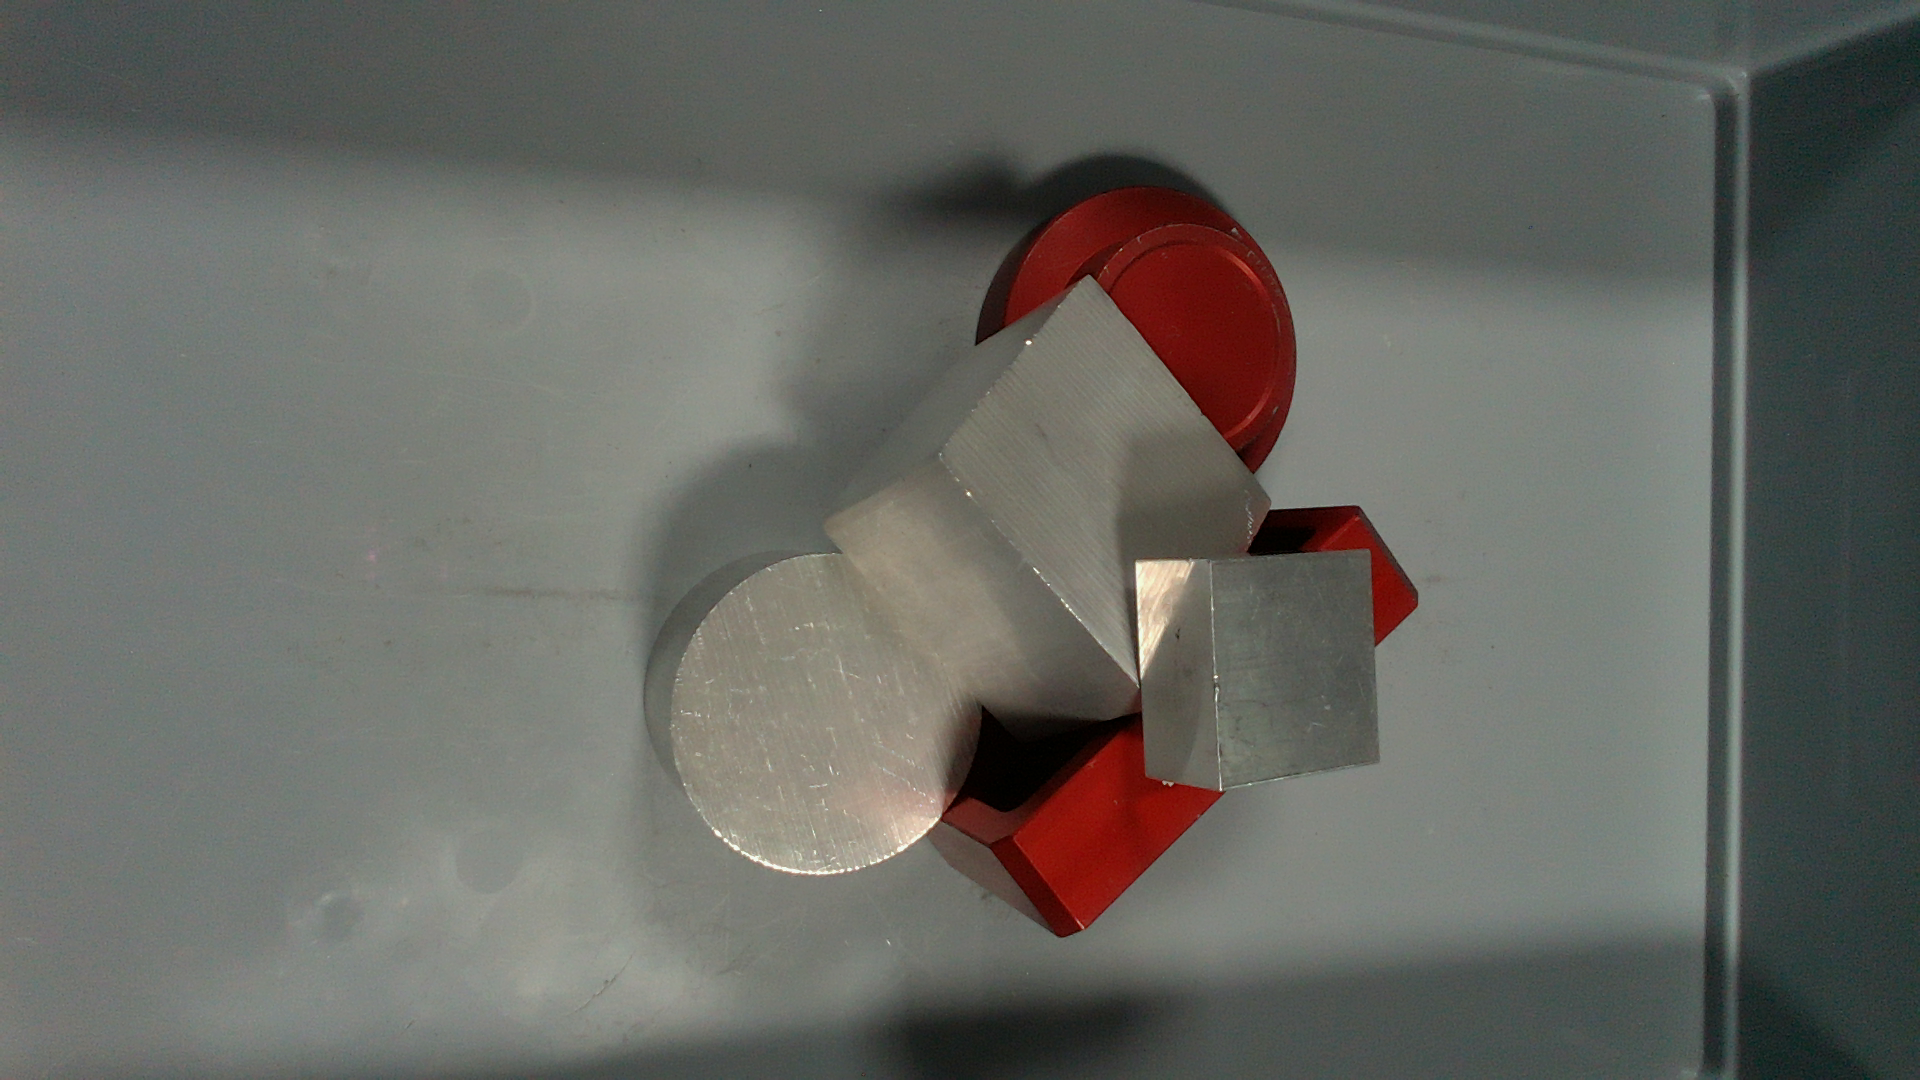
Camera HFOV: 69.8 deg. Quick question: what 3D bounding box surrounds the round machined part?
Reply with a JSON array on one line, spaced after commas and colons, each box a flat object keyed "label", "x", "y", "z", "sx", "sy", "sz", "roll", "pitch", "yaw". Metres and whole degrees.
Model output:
[{"label": "round machined part", "x": 0.057, "y": -0.055, "z": 0.404, "sx": 0.098, "sy": 0.042, "sz": 0.098, "roll": 0, "pitch": 90, "yaw": -20}]

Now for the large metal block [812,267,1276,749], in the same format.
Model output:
[{"label": "large metal block", "x": 0.024, "y": -0.008, "z": 0.350, "sx": 0.080, "sy": 0.050, "sz": 0.080, "roll": 48, "pitch": 51, "yaw": -13}]

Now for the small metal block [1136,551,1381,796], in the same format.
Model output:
[{"label": "small metal block", "x": 0.069, "y": 0.029, "z": 0.316, "sx": 0.050, "sy": 0.025, "sz": 0.050, "roll": -3, "pitch": 90, "yaw": -33}]

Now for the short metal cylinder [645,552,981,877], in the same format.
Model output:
[{"label": "short metal cylinder", "x": -0.041, "y": 0.043, "z": 0.364, "sx": 0.080, "sy": 0.050, "sz": 0.080, "roll": 0, "pitch": 90, "yaw": -20}]

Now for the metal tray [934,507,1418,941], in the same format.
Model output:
[{"label": "metal tray", "x": 0.050, "y": 0.043, "z": 0.375, "sx": 0.130, "sy": 0.090, "sz": 0.030, "roll": -40, "pitch": 102, "yaw": -16}]
